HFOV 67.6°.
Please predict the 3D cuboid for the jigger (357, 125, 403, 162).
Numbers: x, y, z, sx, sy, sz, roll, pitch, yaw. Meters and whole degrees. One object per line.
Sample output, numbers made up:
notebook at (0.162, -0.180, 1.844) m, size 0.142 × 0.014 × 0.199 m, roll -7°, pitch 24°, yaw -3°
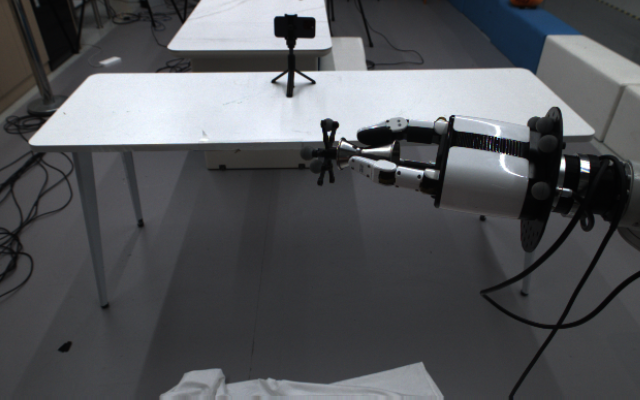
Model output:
jigger at (0.066, -0.060, 0.580) m, size 0.071 × 0.043 × 0.043 m, roll 5°, pitch 34°, yaw 21°
